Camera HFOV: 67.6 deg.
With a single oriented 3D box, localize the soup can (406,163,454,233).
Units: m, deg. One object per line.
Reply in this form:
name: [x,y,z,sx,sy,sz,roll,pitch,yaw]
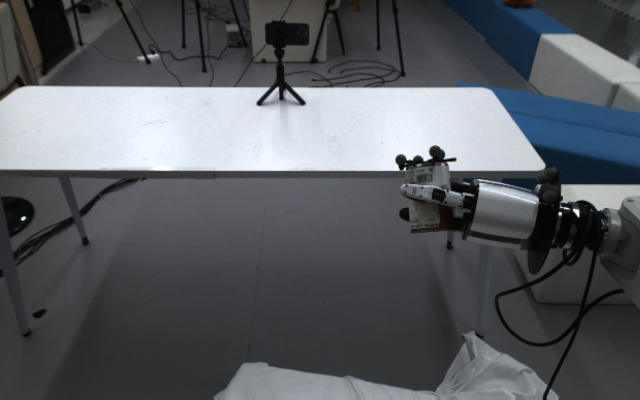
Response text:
soup can: [0.170,-0.002,0.741,0.067,0.101,0.067,-5,-5,0]
